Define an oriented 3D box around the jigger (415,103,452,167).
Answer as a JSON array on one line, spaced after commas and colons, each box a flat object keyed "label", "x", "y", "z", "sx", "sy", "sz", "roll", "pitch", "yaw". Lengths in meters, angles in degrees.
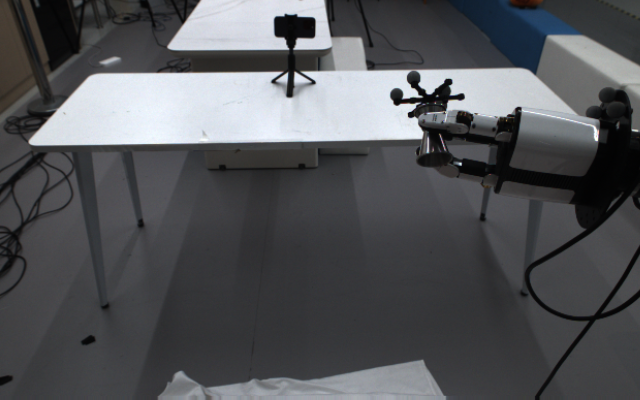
[{"label": "jigger", "x": 0.138, "y": -0.082, "z": 0.596, "sx": 0.043, "sy": 0.043, "sz": 0.071, "roll": 1, "pitch": 70, "yaw": -2}]
